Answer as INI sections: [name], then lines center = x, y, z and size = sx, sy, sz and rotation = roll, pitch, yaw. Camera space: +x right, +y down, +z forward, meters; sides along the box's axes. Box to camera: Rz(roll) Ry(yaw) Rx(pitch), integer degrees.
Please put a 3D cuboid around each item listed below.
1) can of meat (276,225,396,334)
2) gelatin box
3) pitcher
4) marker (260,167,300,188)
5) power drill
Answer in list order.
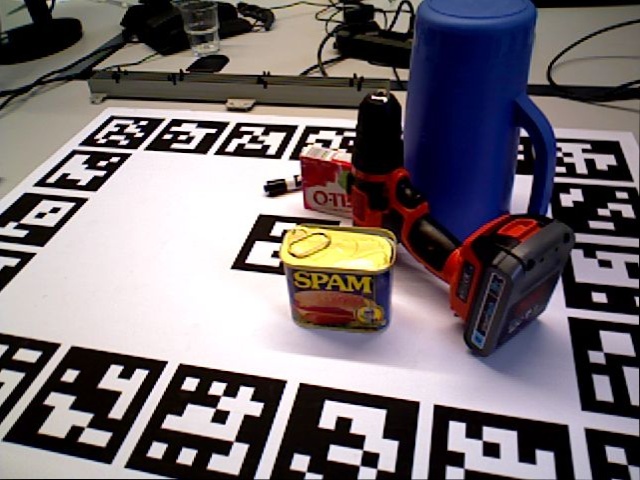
[can of meat]
center = 0.015, 0.036, 0.495
size = 0.102, 0.085, 0.056
rotation = 5, 40, 11
[gelatin box]
center = 0.023, -0.064, 0.623
size = 0.089, 0.075, 0.029
rotation = 15, 48, 19
[pitcher]
center = 0.160, -0.113, 0.542
size = 0.130, 0.247, 0.189
rotation = -37, 44, -28
[marker]
center = -0.016, -0.086, 0.690
size = 0.120, 0.020, 0.019
rotation = -13, 42, -6
[power drill]
center = 0.093, -0.034, 0.495
size = 0.056, 0.188, 0.187
rotation = -35, 55, -27
